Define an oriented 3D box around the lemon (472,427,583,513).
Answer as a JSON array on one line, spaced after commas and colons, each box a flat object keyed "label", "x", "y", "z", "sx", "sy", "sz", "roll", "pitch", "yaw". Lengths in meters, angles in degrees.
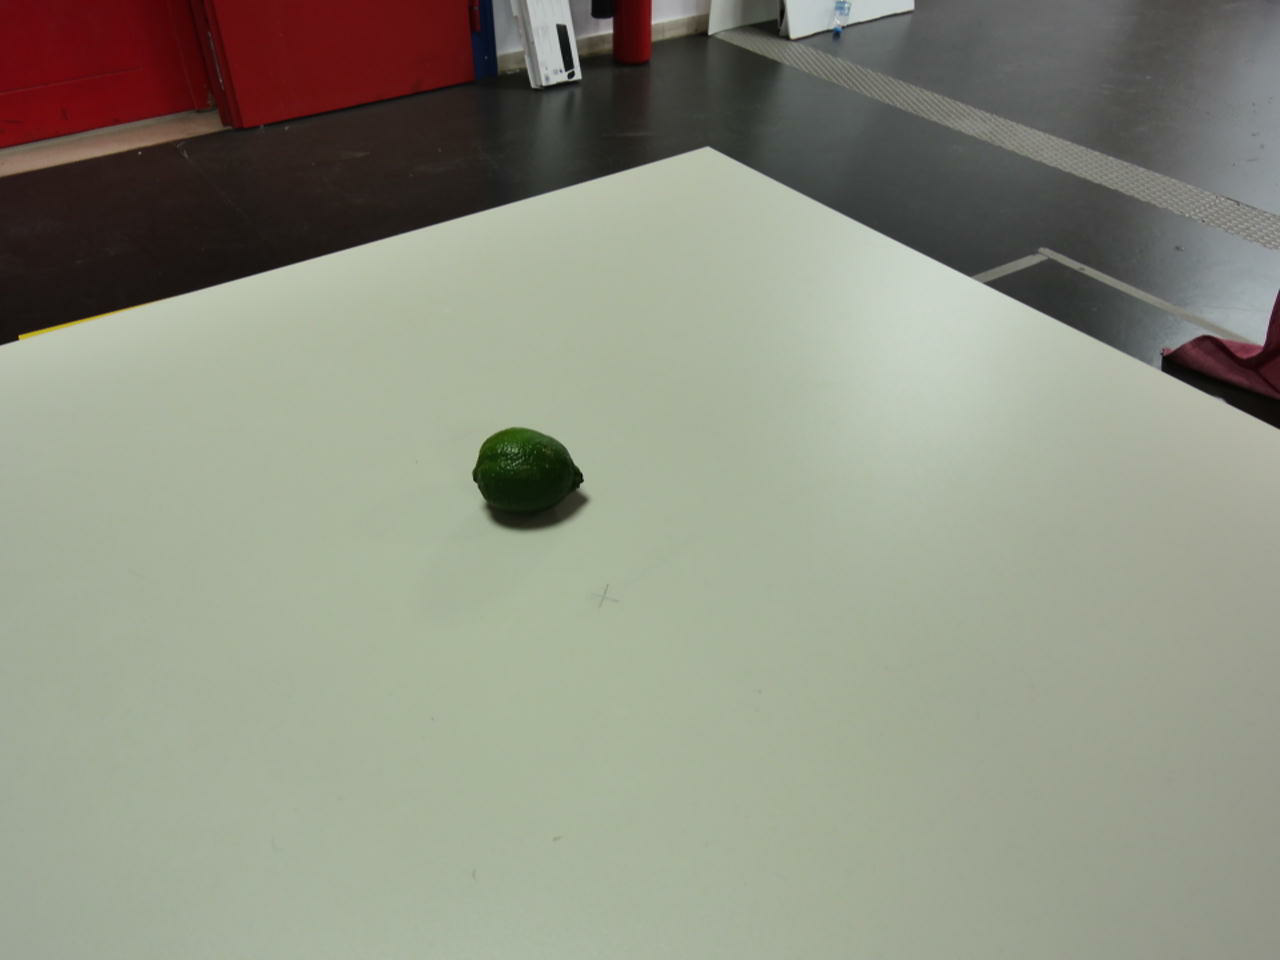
[{"label": "lemon", "x": -0.069, "y": -0.006, "z": 0.585, "sx": 0.057, "sy": 0.051, "sz": 0.054, "roll": -27, "pitch": 46, "yaw": -31}]
